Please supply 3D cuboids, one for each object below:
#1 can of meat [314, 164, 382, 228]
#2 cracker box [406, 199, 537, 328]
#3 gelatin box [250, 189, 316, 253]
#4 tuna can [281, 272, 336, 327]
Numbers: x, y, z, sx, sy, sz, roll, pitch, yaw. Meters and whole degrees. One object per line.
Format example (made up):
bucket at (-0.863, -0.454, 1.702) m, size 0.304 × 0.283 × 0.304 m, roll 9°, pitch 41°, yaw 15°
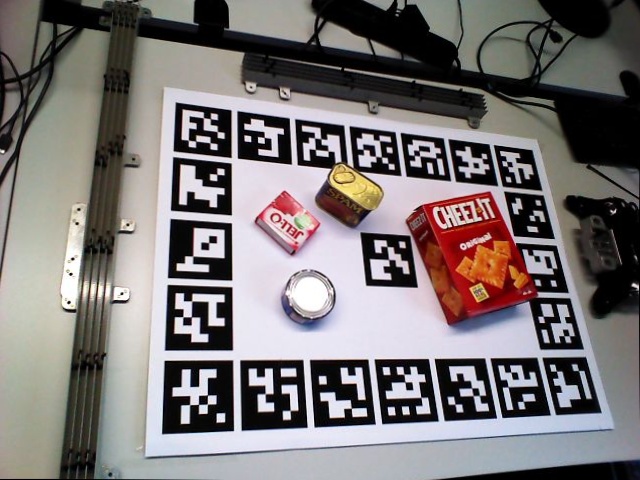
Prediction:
can of meat at (0.047, -0.076, 0.927) m, size 0.102 × 0.084 × 0.057 m, roll 31°, pitch 60°, yaw -3°
cracker box at (0.283, 0.038, 0.964) m, size 0.163 × 0.072 × 0.213 m, roll -12°, pitch 70°, yaw -26°
gelatin box at (-0.062, -0.033, 0.891) m, size 0.089 × 0.030 × 0.073 m, roll 42°, pitch 57°, yaw -1°
tuna can at (-0.019, 0.098, 0.842) m, size 0.085 × 0.034 × 0.085 m, roll 6°, pitch 68°, yaw -16°
